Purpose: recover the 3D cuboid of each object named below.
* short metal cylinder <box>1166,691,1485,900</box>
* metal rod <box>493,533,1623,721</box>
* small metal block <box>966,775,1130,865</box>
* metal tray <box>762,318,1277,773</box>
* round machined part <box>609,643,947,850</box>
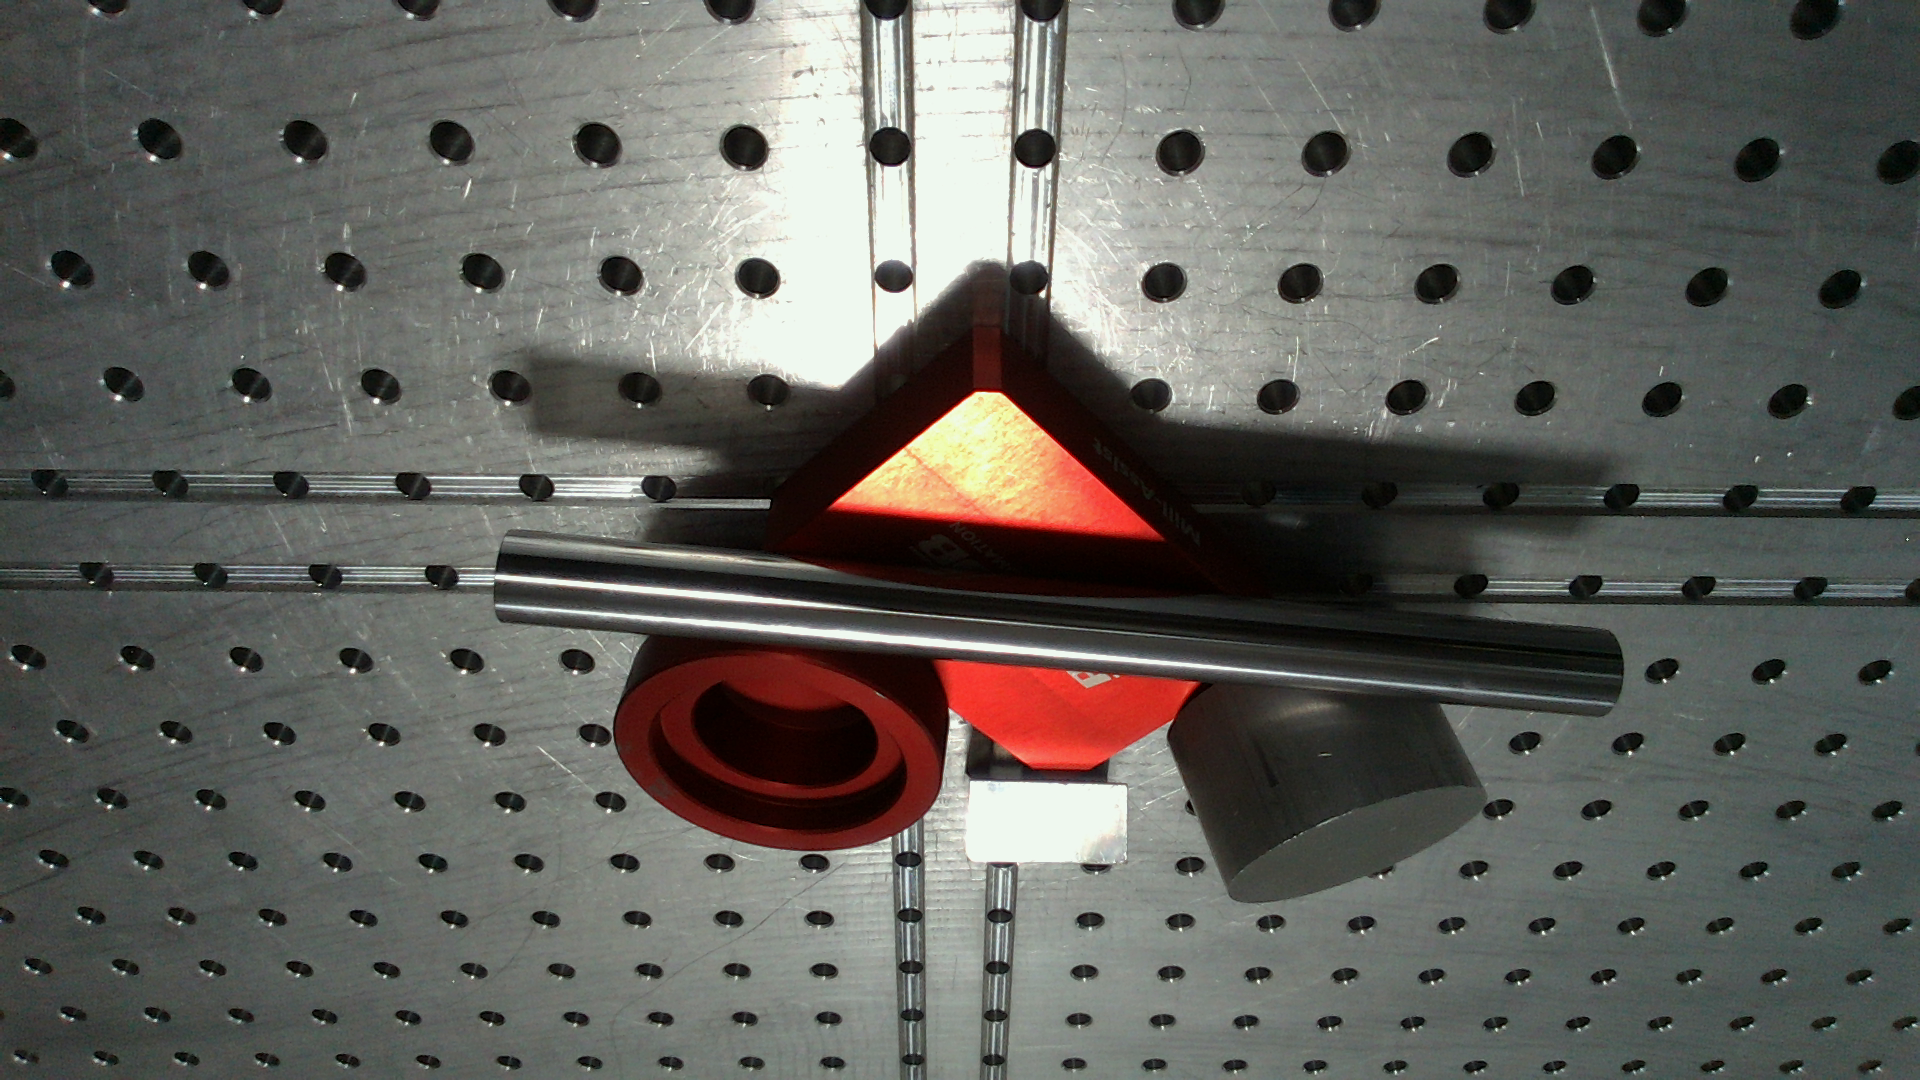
[{"bbox_3d":[0.109,0.070,0.417,0.080,0.050,0.080,-15,150,-8],"label":"short metal cylinder"},{"bbox_3d":[0.030,0.024,0.373,0.300,0.025,0.025,5,130,-5],"label":"metal rod"},{"bbox_3d":[0.027,0.091,0.453,0.050,0.025,0.050,2,173,-2],"label":"small metal block"},{"bbox_3d":[0.020,0.008,0.399,0.090,0.030,0.130,-36,122,26],"label":"metal tray"},{"bbox_3d":[-0.052,0.050,0.418,0.098,0.042,0.098,4,136,4],"label":"round machined part"}]
